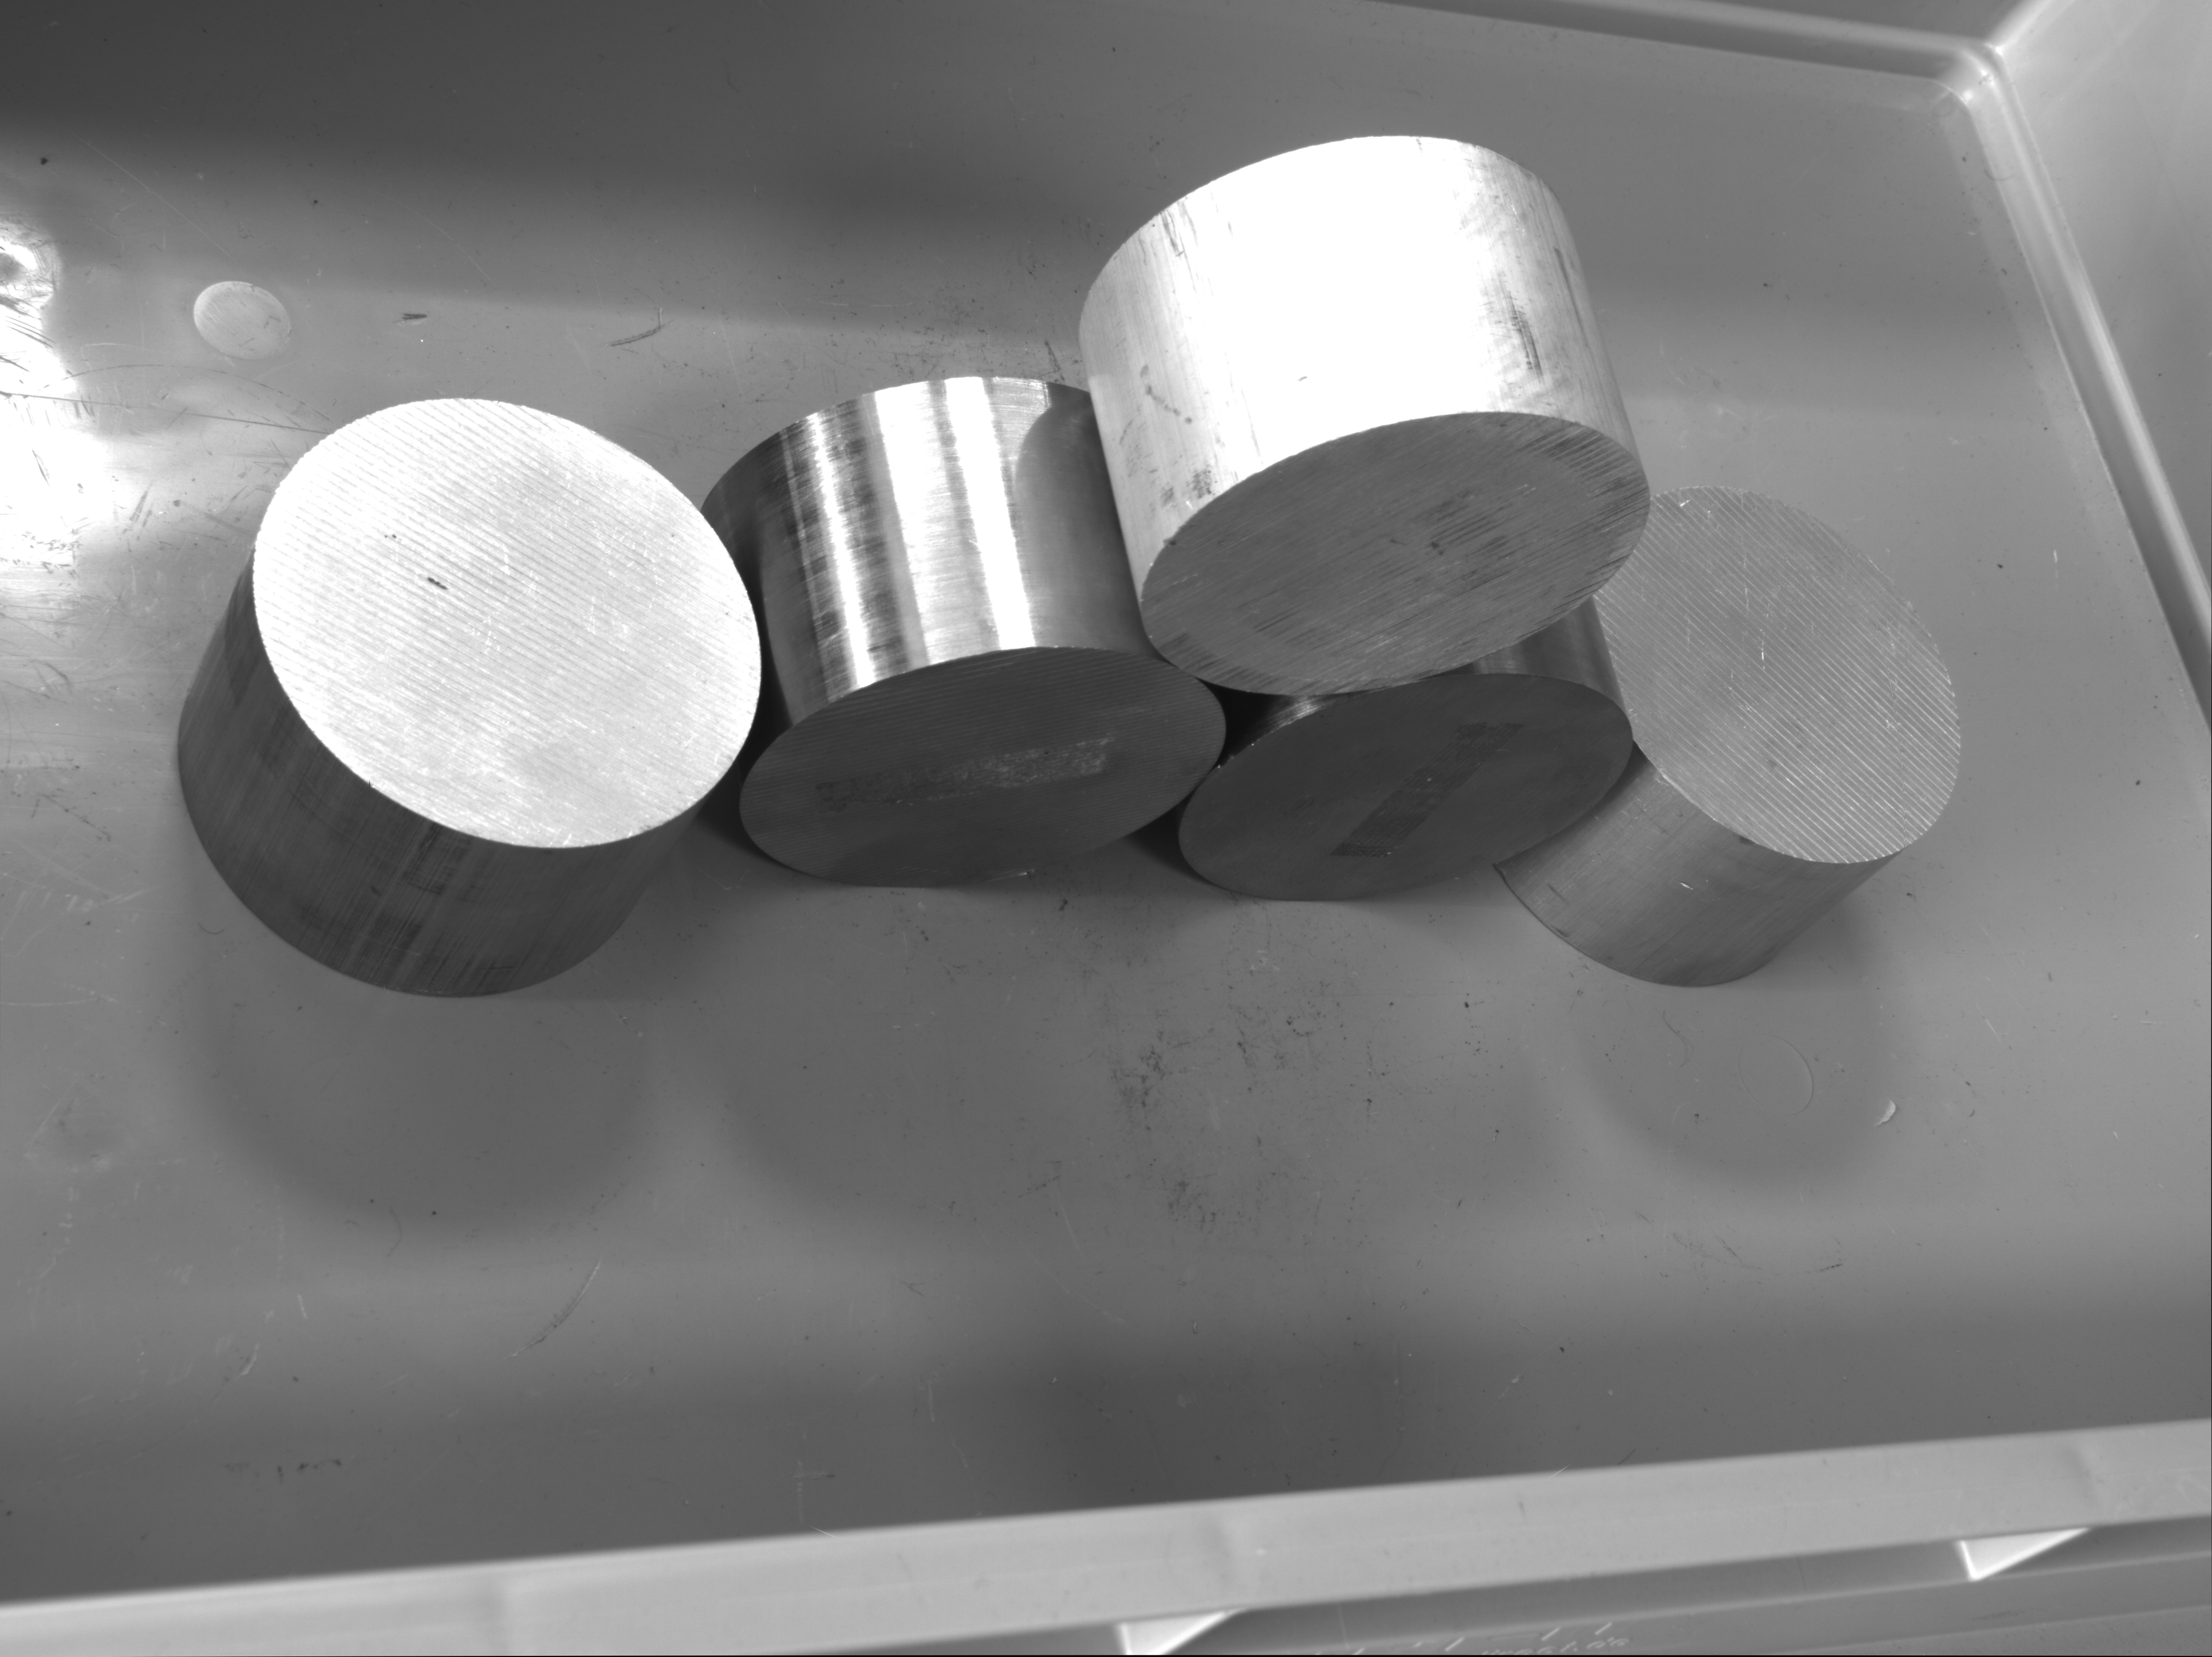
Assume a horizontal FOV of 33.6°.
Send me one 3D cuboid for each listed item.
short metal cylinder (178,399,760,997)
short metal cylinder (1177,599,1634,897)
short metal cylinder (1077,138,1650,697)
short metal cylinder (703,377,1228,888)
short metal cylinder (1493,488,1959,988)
[{"bbox_3d":[-0.101,-0.020,0.579,0.080,0.050,0.080,14,56,-21],"label":"short metal cylinder"},{"bbox_3d":[0.047,-0.029,0.644,0.080,0.080,0.050,2,60,-27],"label":"short metal cylinder"},{"bbox_3d":[0.040,-0.063,0.573,0.080,0.080,0.050,2,60,-27],"label":"short metal cylinder"},{"bbox_3d":[-0.024,-0.031,0.607,0.080,0.080,0.050,2,60,-27],"label":"short metal cylinder"},{"bbox_3d":[0.113,-0.017,0.692,0.080,0.050,0.080,14,56,-21],"label":"short metal cylinder"}]
